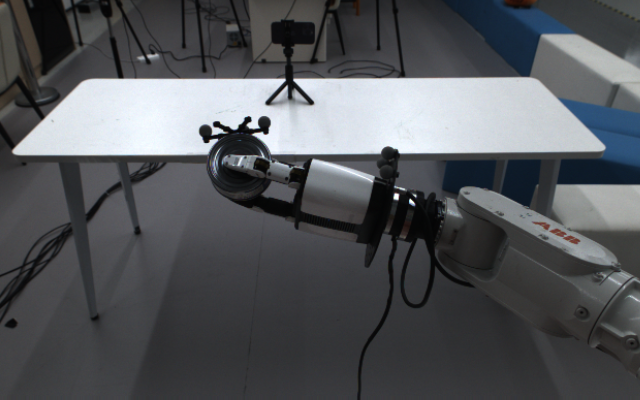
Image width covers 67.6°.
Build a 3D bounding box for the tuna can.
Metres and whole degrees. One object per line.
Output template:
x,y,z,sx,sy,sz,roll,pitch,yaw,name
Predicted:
-0.101,-0.039,0.634,0.085,0.034,0.085,0,72,-1,tuna can
